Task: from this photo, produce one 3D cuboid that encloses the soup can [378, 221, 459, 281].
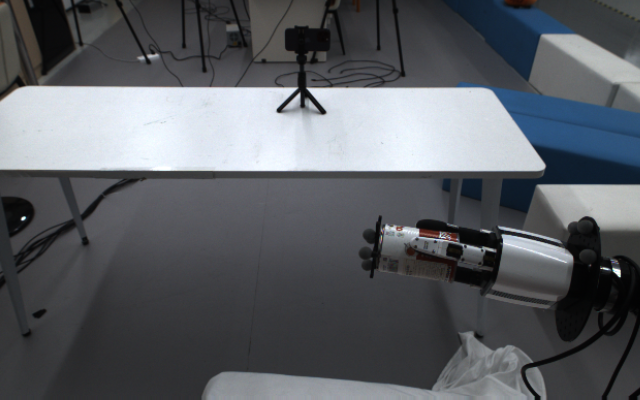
[{"bbox_3d":[0.134,0.070,0.654,0.101,0.067,0.067,7,35,10],"label":"soup can"}]
